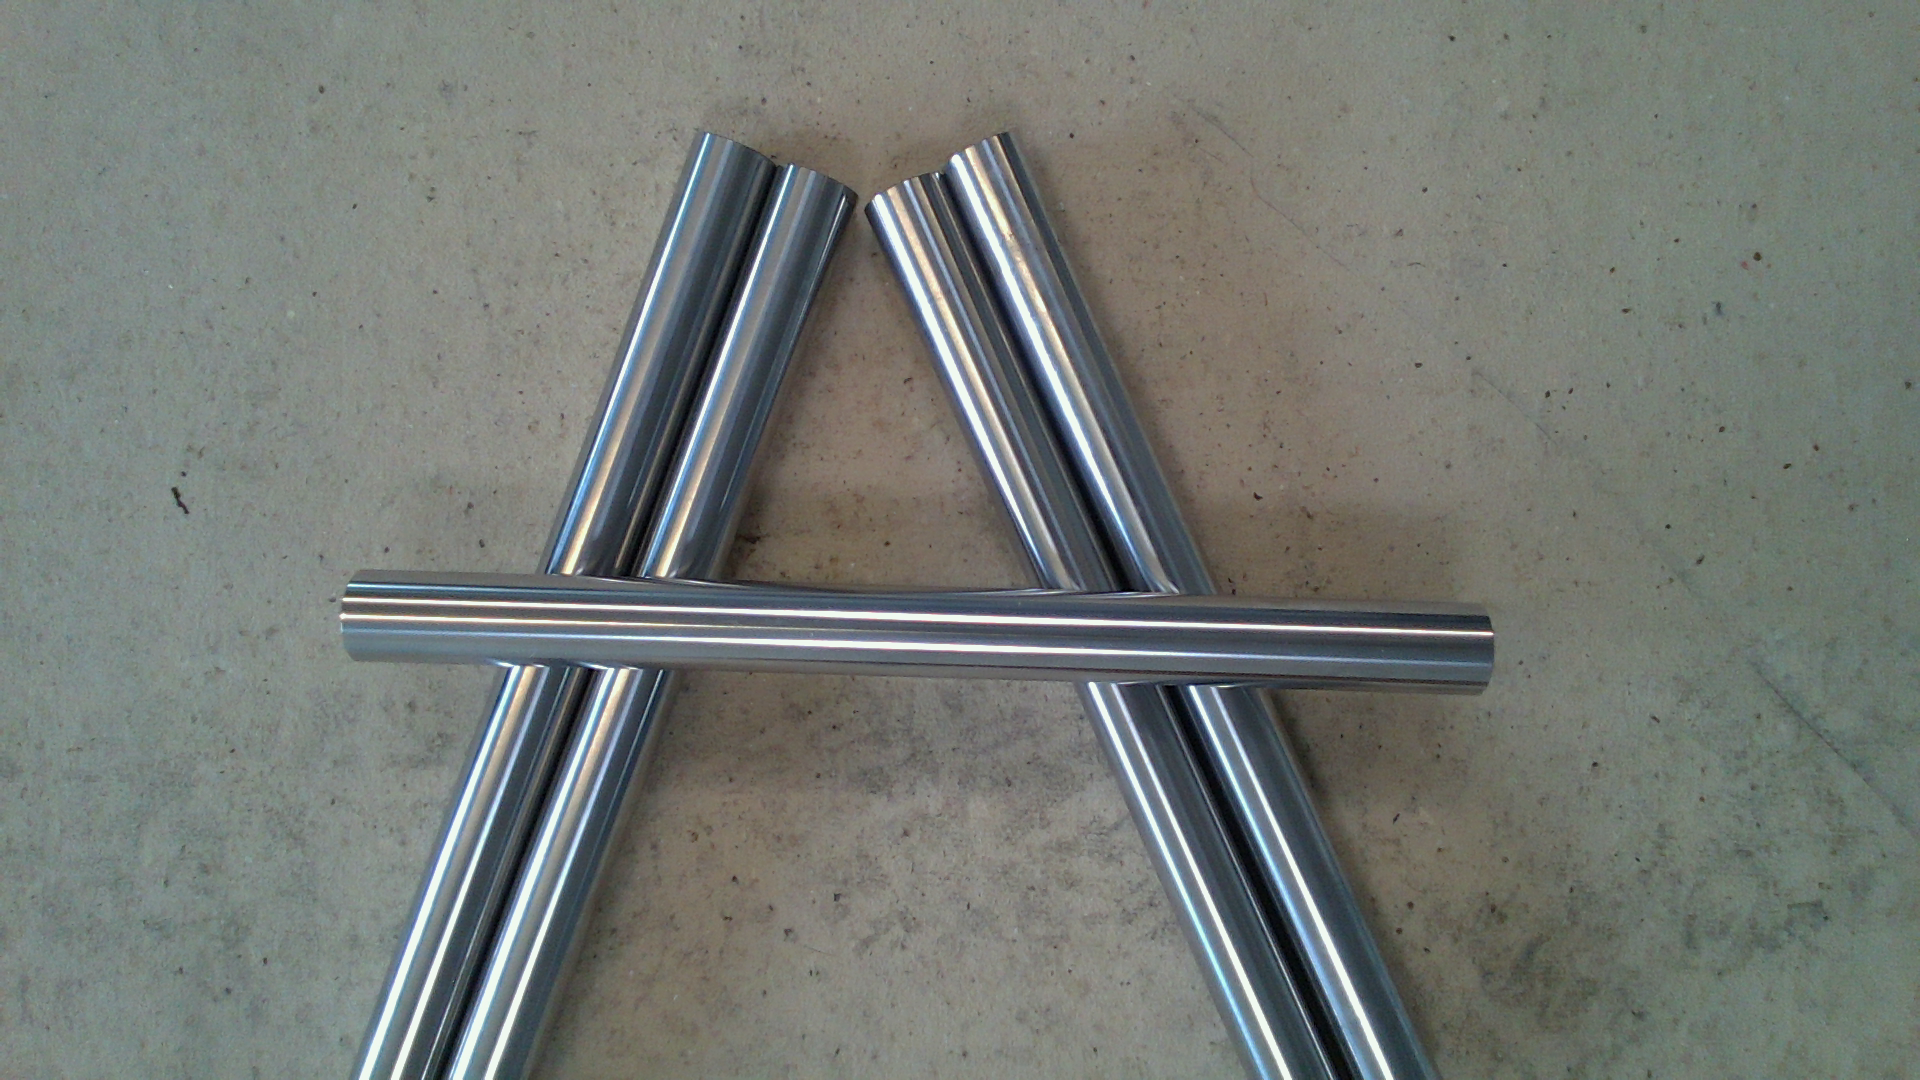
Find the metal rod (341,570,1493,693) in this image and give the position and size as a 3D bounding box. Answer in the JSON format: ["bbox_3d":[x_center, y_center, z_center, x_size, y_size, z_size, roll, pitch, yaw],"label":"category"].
[{"bbox_3d":[-0.011,0.025,0.370,0.300,0.025,0.025,2,90,0],"label":"metal rod"}]

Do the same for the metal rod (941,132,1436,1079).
[{"bbox_3d":[0.066,0.026,0.396,0.025,0.025,0.300,-24,90,0],"label":"metal rod"}]

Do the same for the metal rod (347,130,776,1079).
[{"bbox_3d":[-0.116,0.029,0.395,0.025,0.025,0.300,20,90,0],"label":"metal rod"}]

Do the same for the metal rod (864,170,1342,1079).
[{"bbox_3d":[0.044,0.037,0.396,0.025,0.025,0.300,-24,90,0],"label":"metal rod"}]

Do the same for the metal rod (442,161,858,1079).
[{"bbox_3d":[-0.093,0.038,0.395,0.025,0.025,0.300,20,90,0],"label":"metal rod"}]
